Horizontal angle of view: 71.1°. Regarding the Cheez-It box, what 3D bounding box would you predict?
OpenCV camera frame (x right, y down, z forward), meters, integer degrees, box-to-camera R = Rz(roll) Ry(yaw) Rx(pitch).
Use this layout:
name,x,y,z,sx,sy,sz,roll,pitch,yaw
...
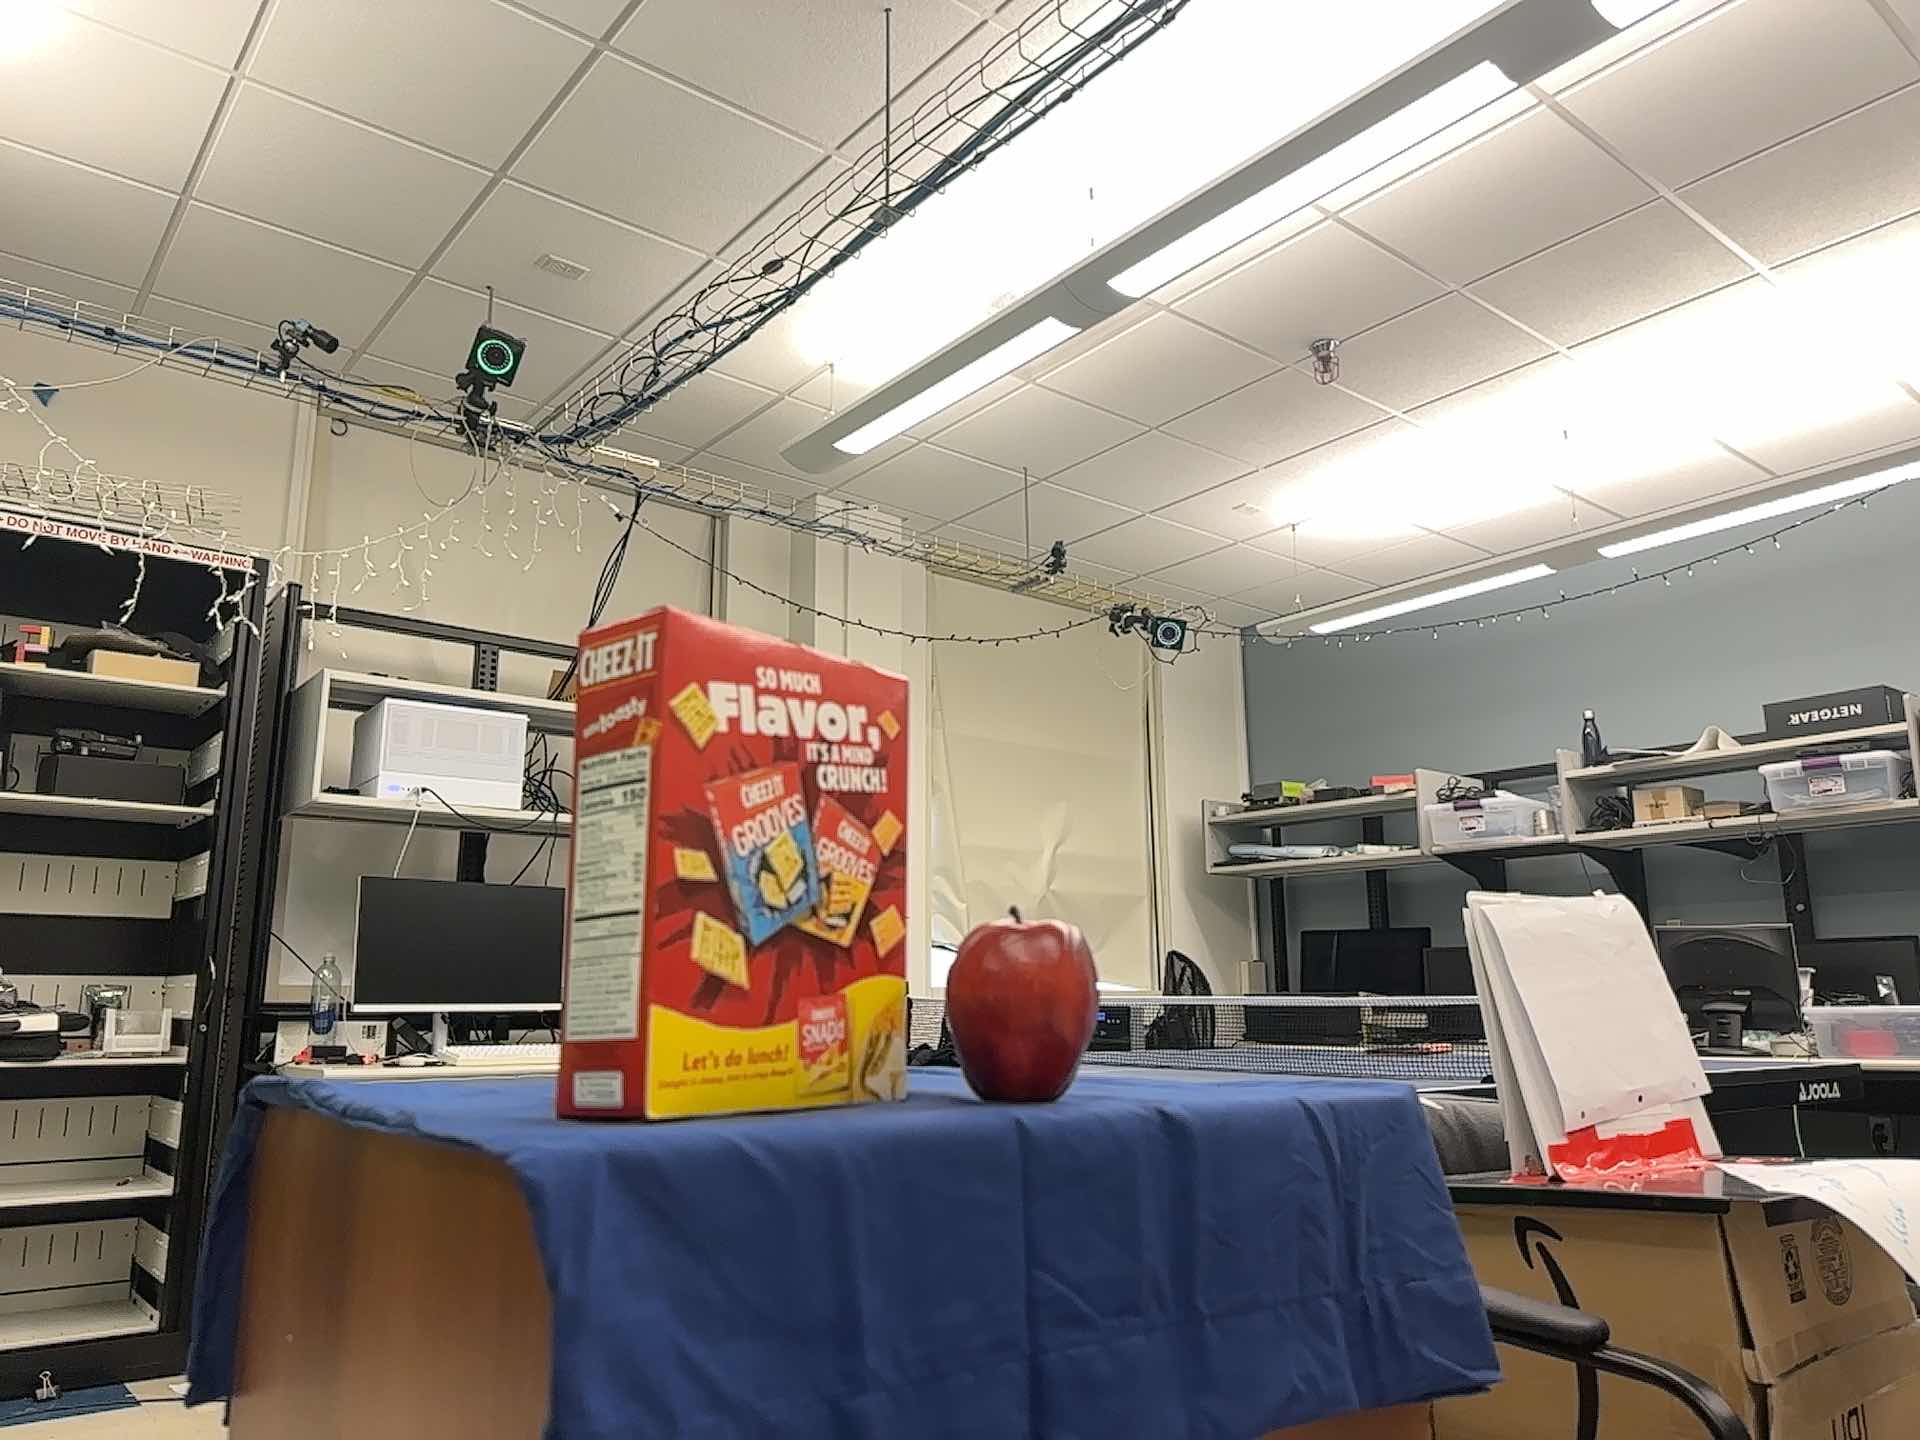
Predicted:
name,x,y,z,sx,sy,sz,roll,pitch,yaw
Cheez-It box,-0.099,0.071,0.628,0.062,0.214,0.159,-7,-14,35

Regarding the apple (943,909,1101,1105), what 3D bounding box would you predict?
name,x,y,z,sx,sy,sz,roll,pitch,yaw
apple,0.030,0.140,0.664,0.079,0.093,0.079,0,-9,0
